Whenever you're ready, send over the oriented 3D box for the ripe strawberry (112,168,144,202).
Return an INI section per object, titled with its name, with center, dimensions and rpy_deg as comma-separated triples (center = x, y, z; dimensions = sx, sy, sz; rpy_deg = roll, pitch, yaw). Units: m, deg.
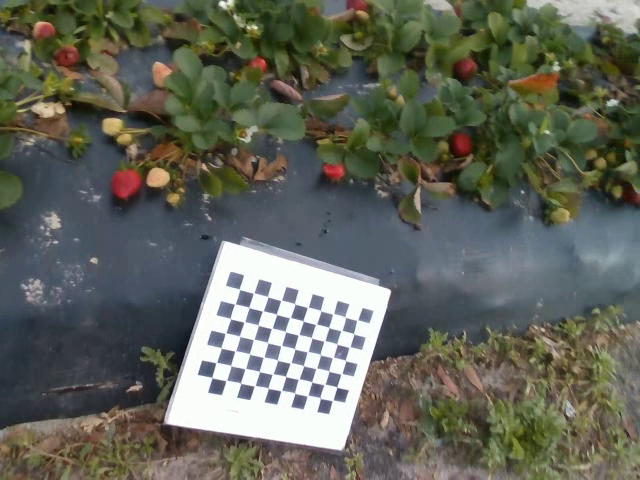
[ripe strawberry]
center = -0.278, -0.078, 0.692
dimensions = 0.050, 0.059, 0.034
rpy_deg = 5, -46, -18
